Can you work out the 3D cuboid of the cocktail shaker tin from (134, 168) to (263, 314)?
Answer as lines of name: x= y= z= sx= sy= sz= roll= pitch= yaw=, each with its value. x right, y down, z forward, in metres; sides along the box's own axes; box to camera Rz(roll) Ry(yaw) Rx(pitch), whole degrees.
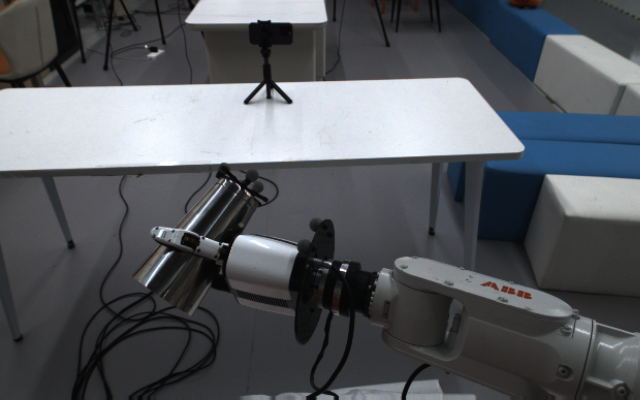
cocktail shaker tin: x=-0.158 y=0.053 z=0.645 sx=0.093 sy=0.093 sz=0.170 roll=24 pitch=69 yaw=28
